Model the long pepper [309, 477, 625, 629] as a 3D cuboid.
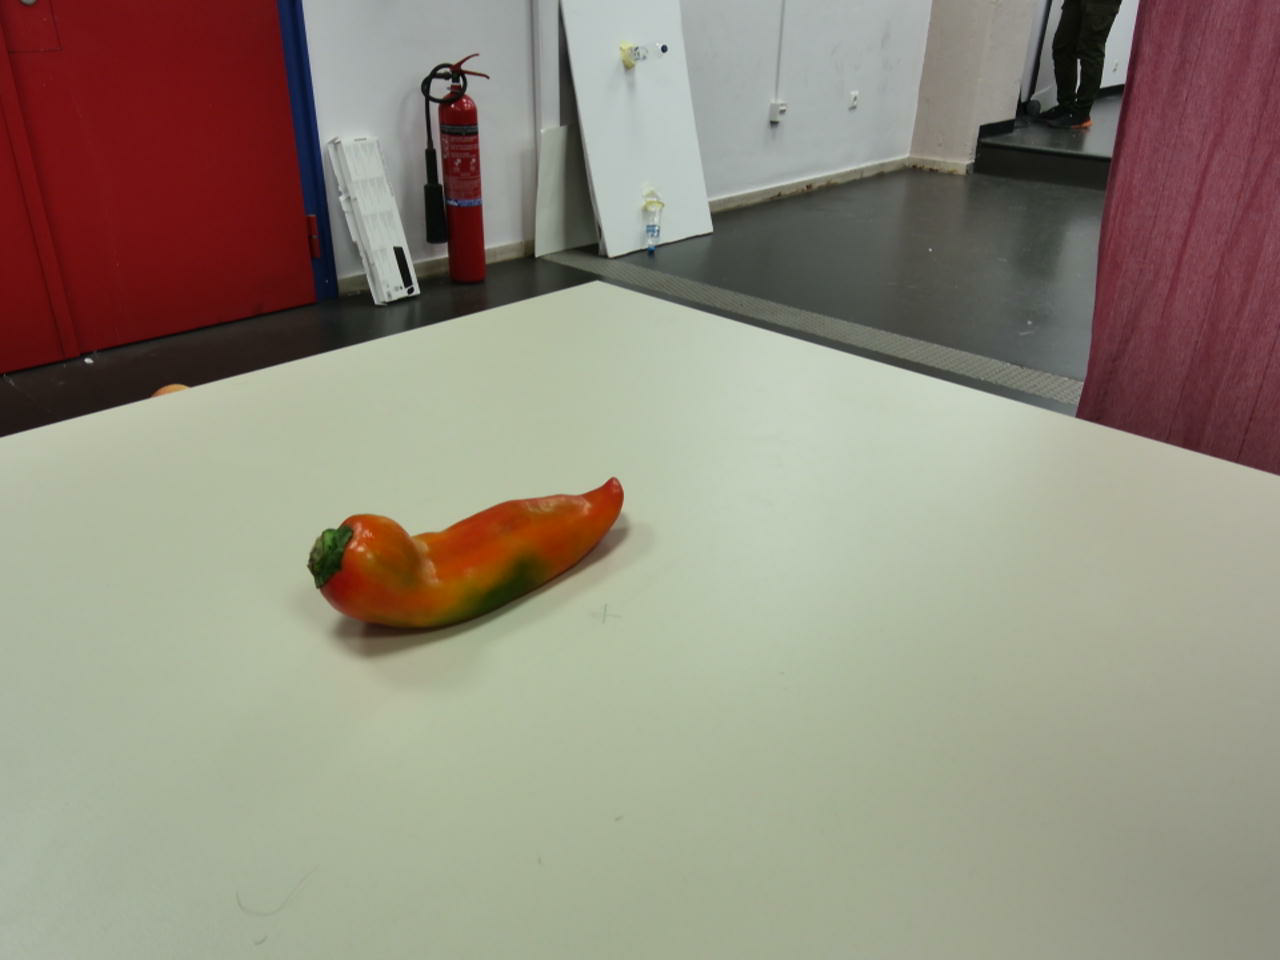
[{"bbox_3d":[-0.081,0.027,0.539,0.199,0.065,0.066,-21,33,-38],"label":"long pepper"}]
